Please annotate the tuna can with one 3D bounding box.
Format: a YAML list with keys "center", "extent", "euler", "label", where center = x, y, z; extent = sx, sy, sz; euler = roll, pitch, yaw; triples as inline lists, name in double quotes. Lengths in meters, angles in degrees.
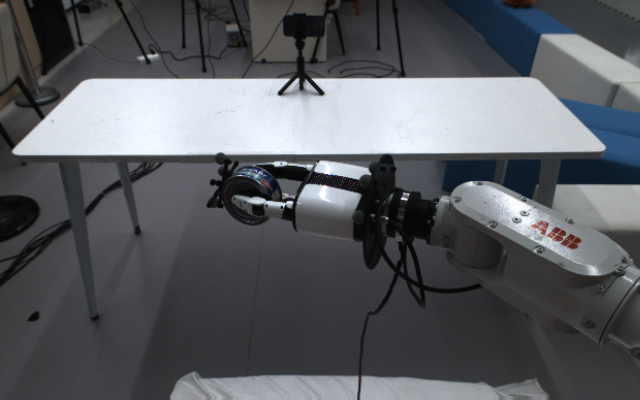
- center: [-0.100, -0.003, 0.712]
  extent: [0.085, 0.085, 0.034]
  euler: [13, 30, 15]
  label: "tuna can"
